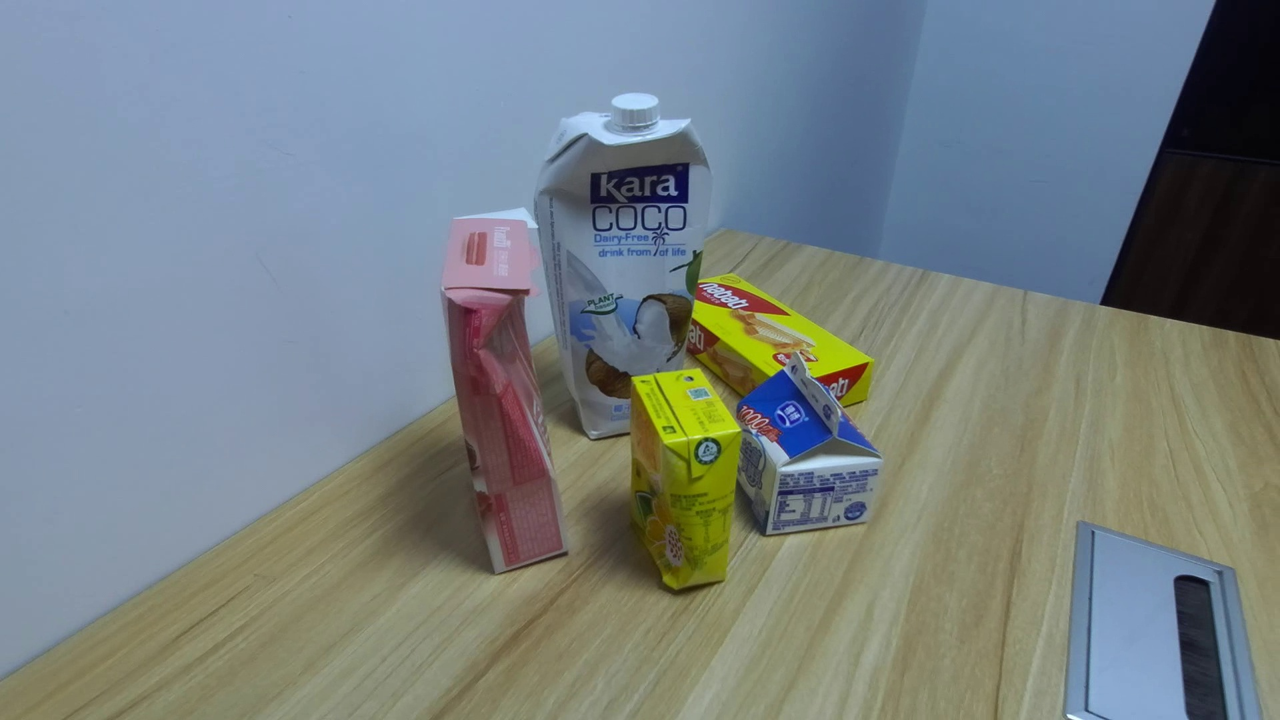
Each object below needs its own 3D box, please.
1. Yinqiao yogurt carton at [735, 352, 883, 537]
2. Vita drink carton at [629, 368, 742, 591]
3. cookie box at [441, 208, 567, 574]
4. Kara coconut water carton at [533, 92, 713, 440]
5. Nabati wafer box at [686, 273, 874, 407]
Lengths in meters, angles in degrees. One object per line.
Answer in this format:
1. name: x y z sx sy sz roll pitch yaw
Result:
1. Yinqiao yogurt carton: 0.105 0.050 0.448 0.074 0.092 0.075 -4 31 -11
2. Vita drink carton: 0.024 0.070 0.395 0.043 0.109 0.076 -7 31 -13
3. cookie box: -0.076 0.021 0.403 0.055 0.184 0.118 -6 31 -14
4. Kara coconut water carton: -0.012 -0.060 0.494 0.115 0.238 0.069 -8 33 -15
5. Nabati wafer box: 0.101 -0.017 0.622 0.093 0.042 0.202 -13 33 -25
